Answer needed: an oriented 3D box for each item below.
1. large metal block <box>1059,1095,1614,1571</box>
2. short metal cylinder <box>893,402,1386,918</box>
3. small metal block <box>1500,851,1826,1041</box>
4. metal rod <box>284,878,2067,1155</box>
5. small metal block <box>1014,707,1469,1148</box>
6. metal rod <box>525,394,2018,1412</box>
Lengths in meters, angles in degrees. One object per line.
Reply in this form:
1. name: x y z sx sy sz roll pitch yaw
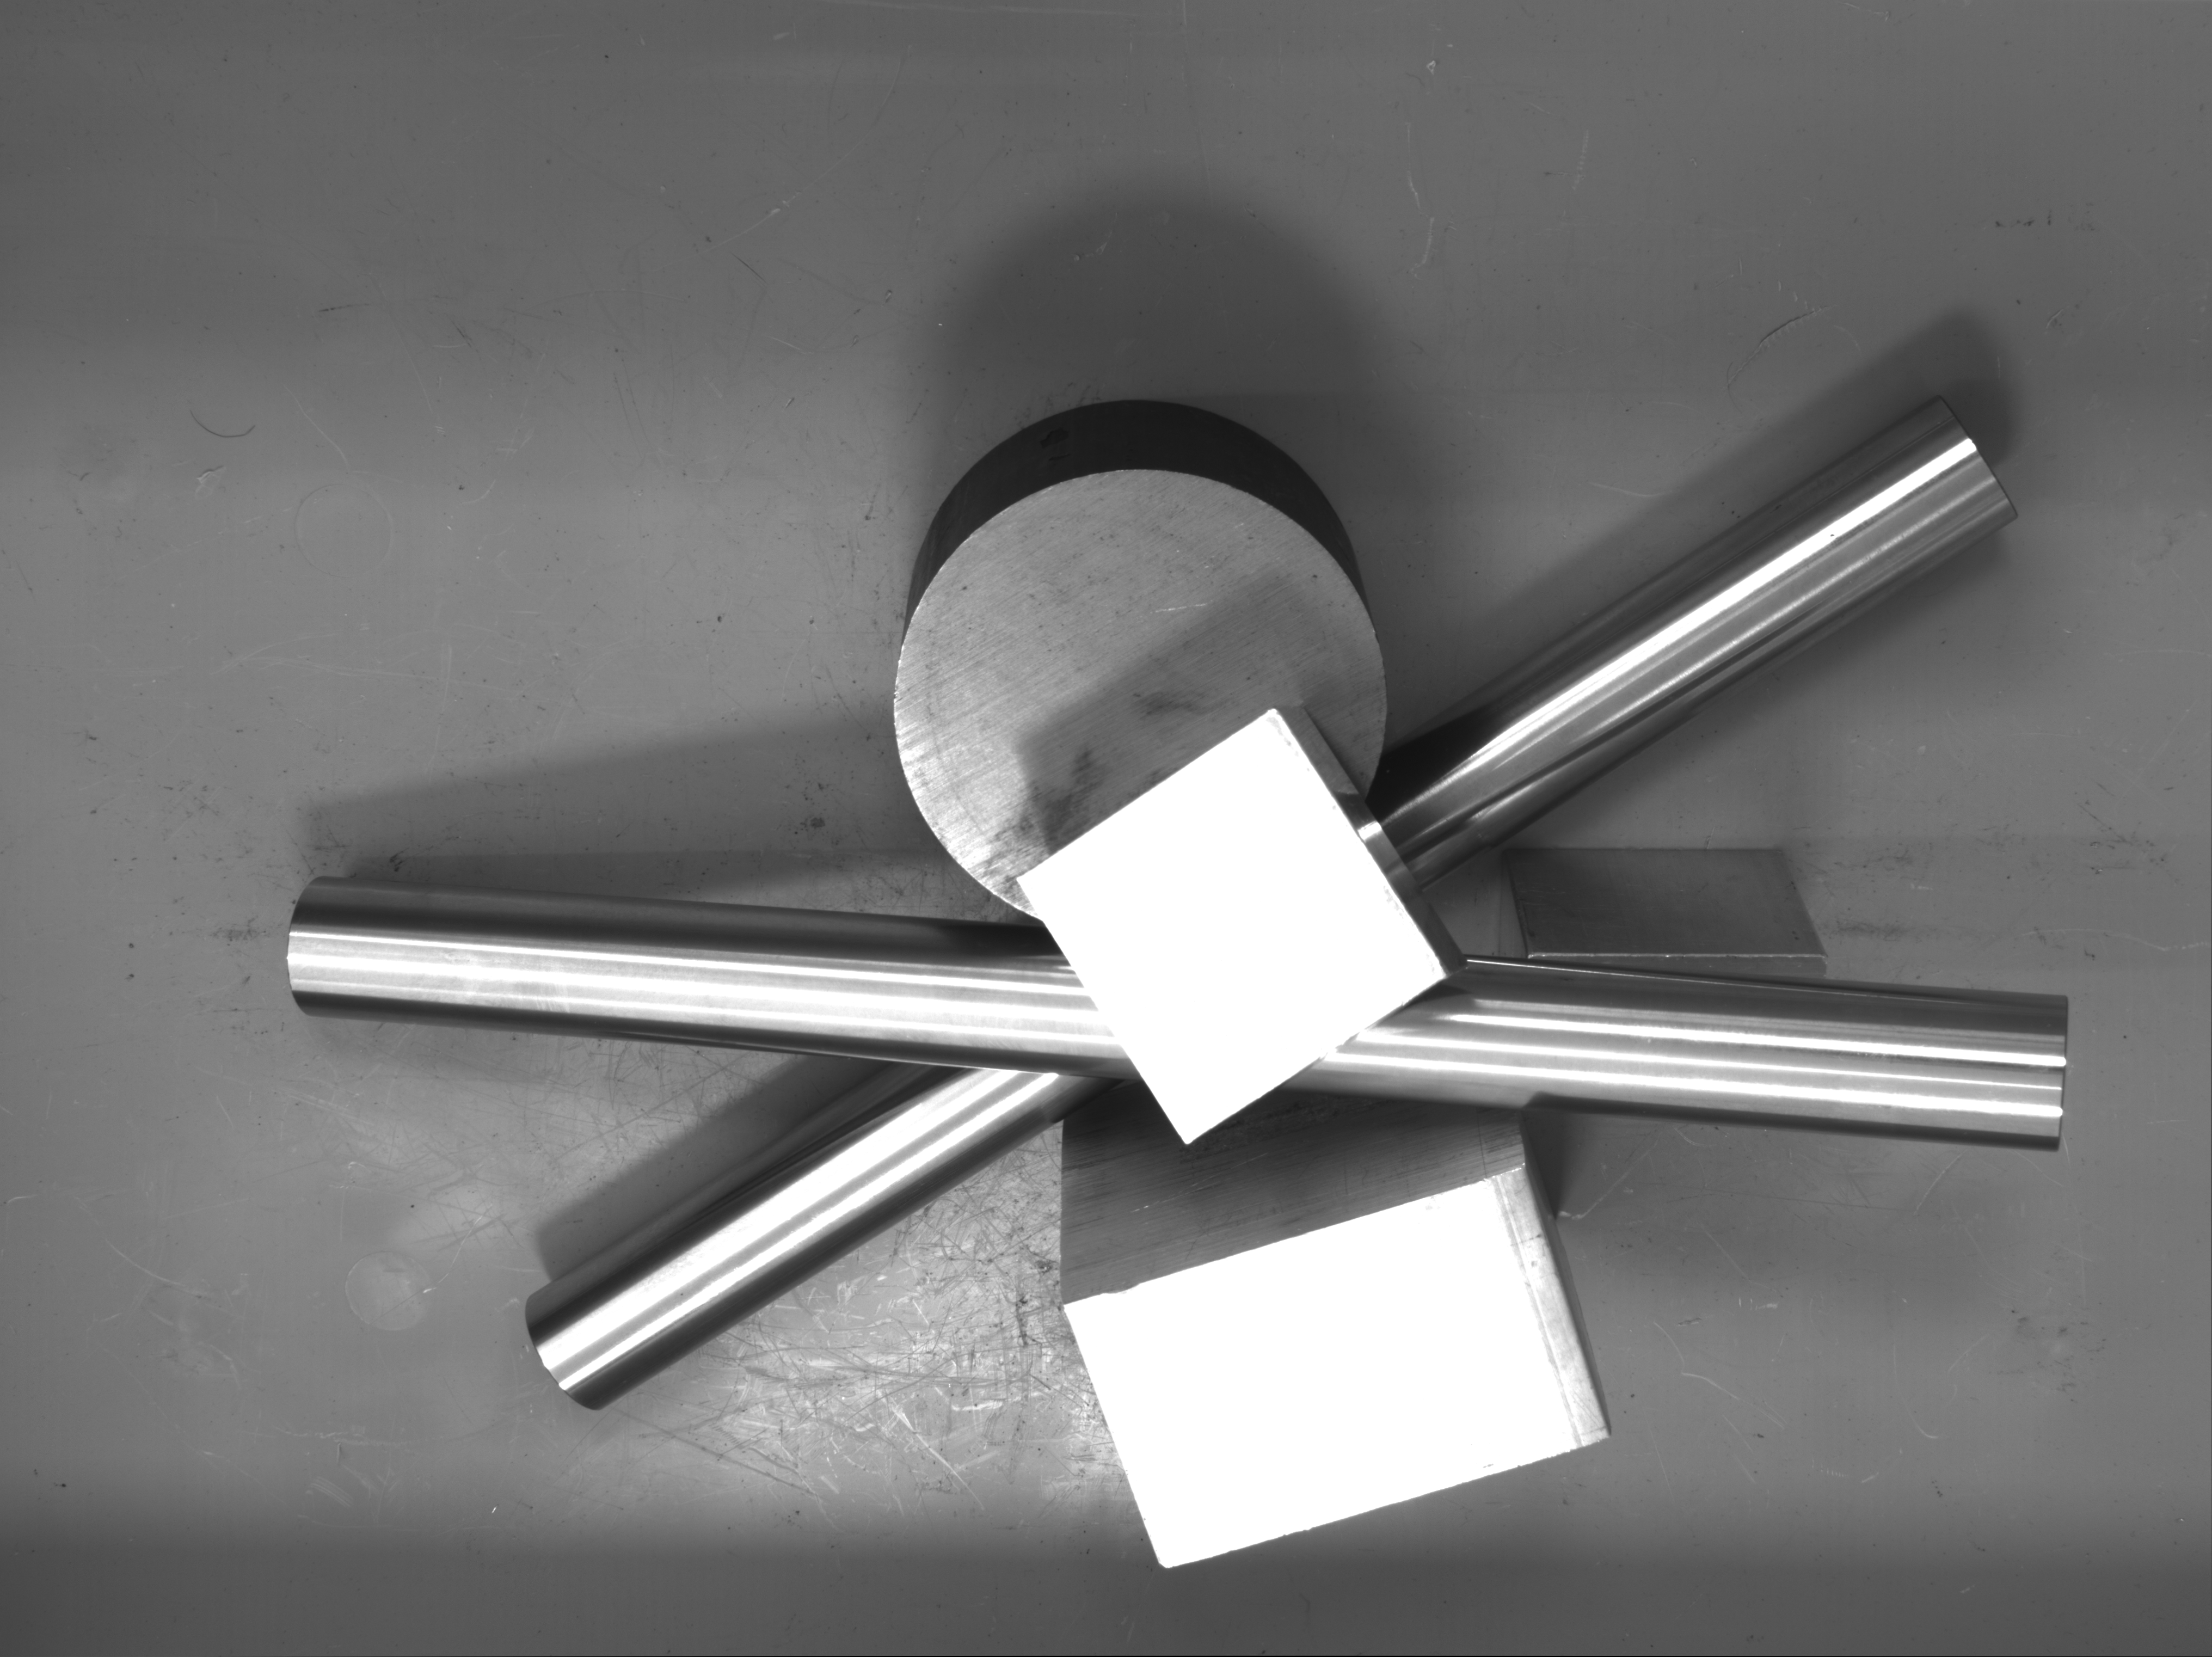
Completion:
1. large metal block: 0.038 0.077 0.641 0.080 0.080 0.050 -17 109 6
2. short metal cylinder: 0.006 -0.027 0.620 0.080 0.050 0.080 0 109 0
3. small metal block: 0.095 0.024 0.639 0.050 0.050 0.025 0 110 1
4. metal rod: 0.006 0.030 0.616 0.300 0.025 0.025 4 111 13
5. small metal block: 0.022 0.015 0.587 0.050 0.025 0.050 -34 84 12
6. metal rod: 0.024 0.017 0.650 0.300 0.025 0.025 -33 107 11
